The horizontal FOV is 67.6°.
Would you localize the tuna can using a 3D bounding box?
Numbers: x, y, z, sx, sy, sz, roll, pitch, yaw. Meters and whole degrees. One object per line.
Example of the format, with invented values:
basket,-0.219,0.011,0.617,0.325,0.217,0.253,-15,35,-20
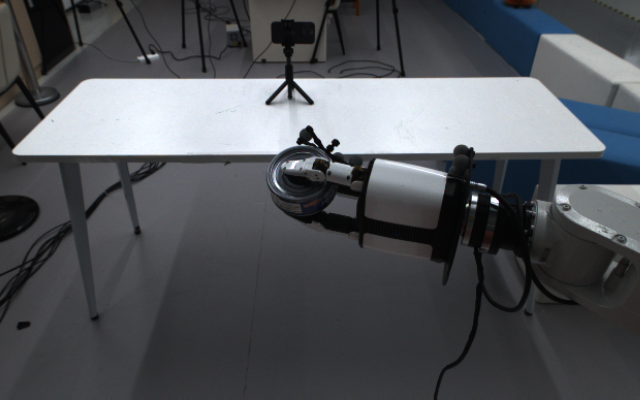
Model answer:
tuna can,-0.018,-0.019,0.592,0.085,0.034,0.085,-4,58,6
